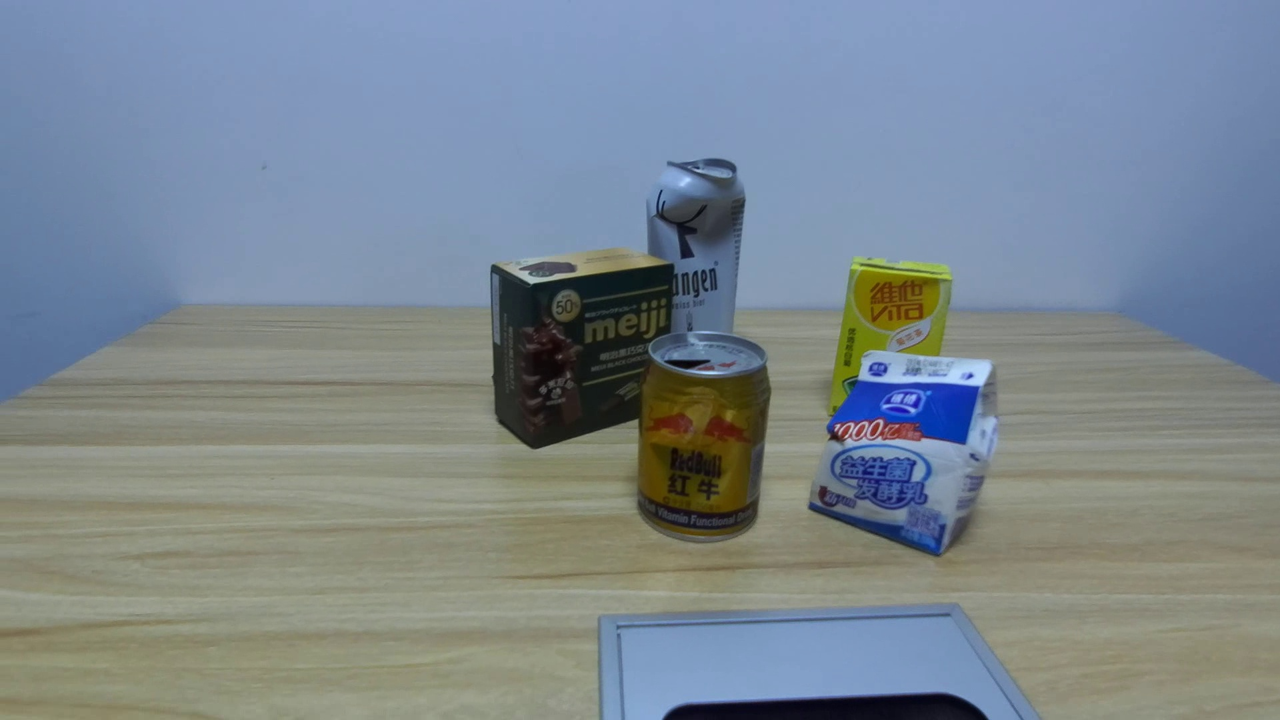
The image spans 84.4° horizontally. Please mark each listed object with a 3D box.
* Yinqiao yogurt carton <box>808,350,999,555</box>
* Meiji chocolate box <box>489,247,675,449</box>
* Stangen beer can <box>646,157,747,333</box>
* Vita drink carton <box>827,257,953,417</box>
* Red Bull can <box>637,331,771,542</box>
[{"bbox_3d":[0.146,0.038,0.375,0.083,0.093,0.077,16,26,33],"label":"Yinqiao yogurt carton"},{"bbox_3d":[-0.037,-0.011,0.470,0.110,0.109,0.056,-13,26,-35],"label":"Meiji chocolate box"},{"bbox_3d":[0.043,-0.072,0.553,0.065,0.162,0.077,7,23,14],"label":"Stangen beer can"},{"bbox_3d":[0.168,-0.010,0.483,0.066,0.109,0.043,8,15,13],"label":"Vita drink carton"},{"bbox_3d":[0.032,0.038,0.368,0.069,0.092,0.069,2,21,-1],"label":"Red Bull can"}]
